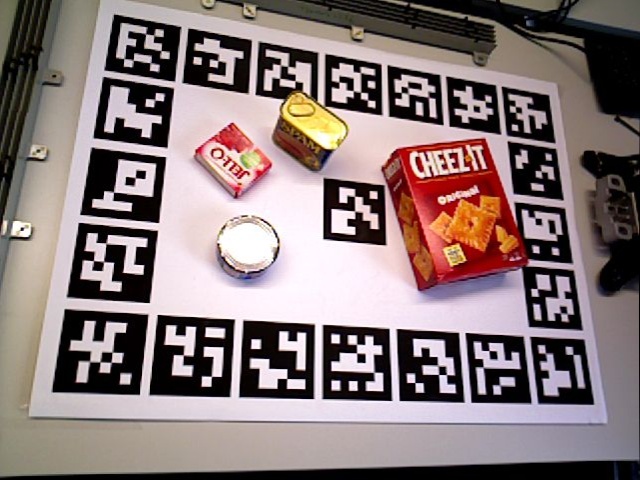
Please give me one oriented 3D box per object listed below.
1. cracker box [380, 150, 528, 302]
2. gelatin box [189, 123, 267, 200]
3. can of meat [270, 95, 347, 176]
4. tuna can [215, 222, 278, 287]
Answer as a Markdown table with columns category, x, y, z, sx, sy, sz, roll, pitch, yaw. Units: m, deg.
| category | x | y | z | sx | sy | sz | roll | pitch | yaw |
| --- | --- | --- | --- | --- | --- | --- | --- | --- | --- |
| cracker box | 0.208 | -0.027 | 0.845 | 0.161 | 0.073 | 0.213 | -10 | 73 | -21 |
| gelatin box | -0.134 | -0.115 | 0.795 | 0.089 | 0.031 | 0.072 | 46 | 63 | 0 |
| can of meat | -0.021 | -0.153 | 0.819 | 0.101 | 0.085 | 0.057 | 34 | 64 | -1 |
| tuna can | -0.103 | 0.021 | 0.752 | 0.085 | 0.034 | 0.085 | 4 | 74 | -14 |
